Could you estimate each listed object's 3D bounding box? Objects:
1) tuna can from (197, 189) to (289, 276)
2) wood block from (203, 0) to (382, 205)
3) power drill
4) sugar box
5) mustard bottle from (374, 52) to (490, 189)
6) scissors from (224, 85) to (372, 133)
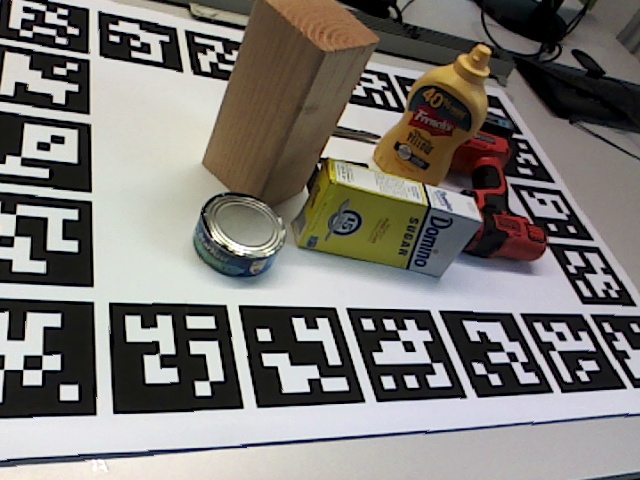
[{"bbox_3d":[-0.076,-0.007,0.606,0.085,0.034,0.086,15,46,-17],"label":"tuna can"},{"bbox_3d":[-0.037,-0.134,0.638,0.090,0.206,0.090,-26,67,-42],"label":"wood block"},{"bbox_3d":[0.180,-0.068,0.789,0.184,0.057,0.187,14,52,-17],"label":"power drill"},{"bbox_3d":[0.079,-0.019,0.666,0.175,0.093,0.045,14,42,-19],"label":"sugar box"},{"bbox_3d":[0.148,-0.148,0.759,0.096,0.192,0.058,40,45,9],"label":"mustard bottle"},{"bbox_3d":[-0.021,-0.154,0.789,0.202,0.016,0.088,5,45,-24],"label":"scissors"}]
